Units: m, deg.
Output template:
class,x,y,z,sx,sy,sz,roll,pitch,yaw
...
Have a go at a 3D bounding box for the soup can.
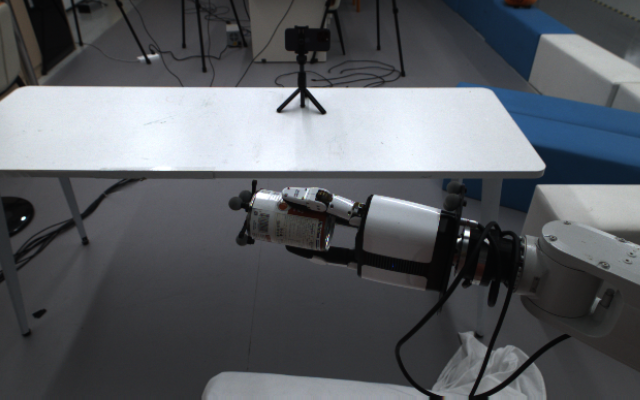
class,x,y,z,sx,sy,sz,roll,pitch,yaw
soup can,-0.033,0.026,0.623,0.101,0.067,0.067,9,35,9
